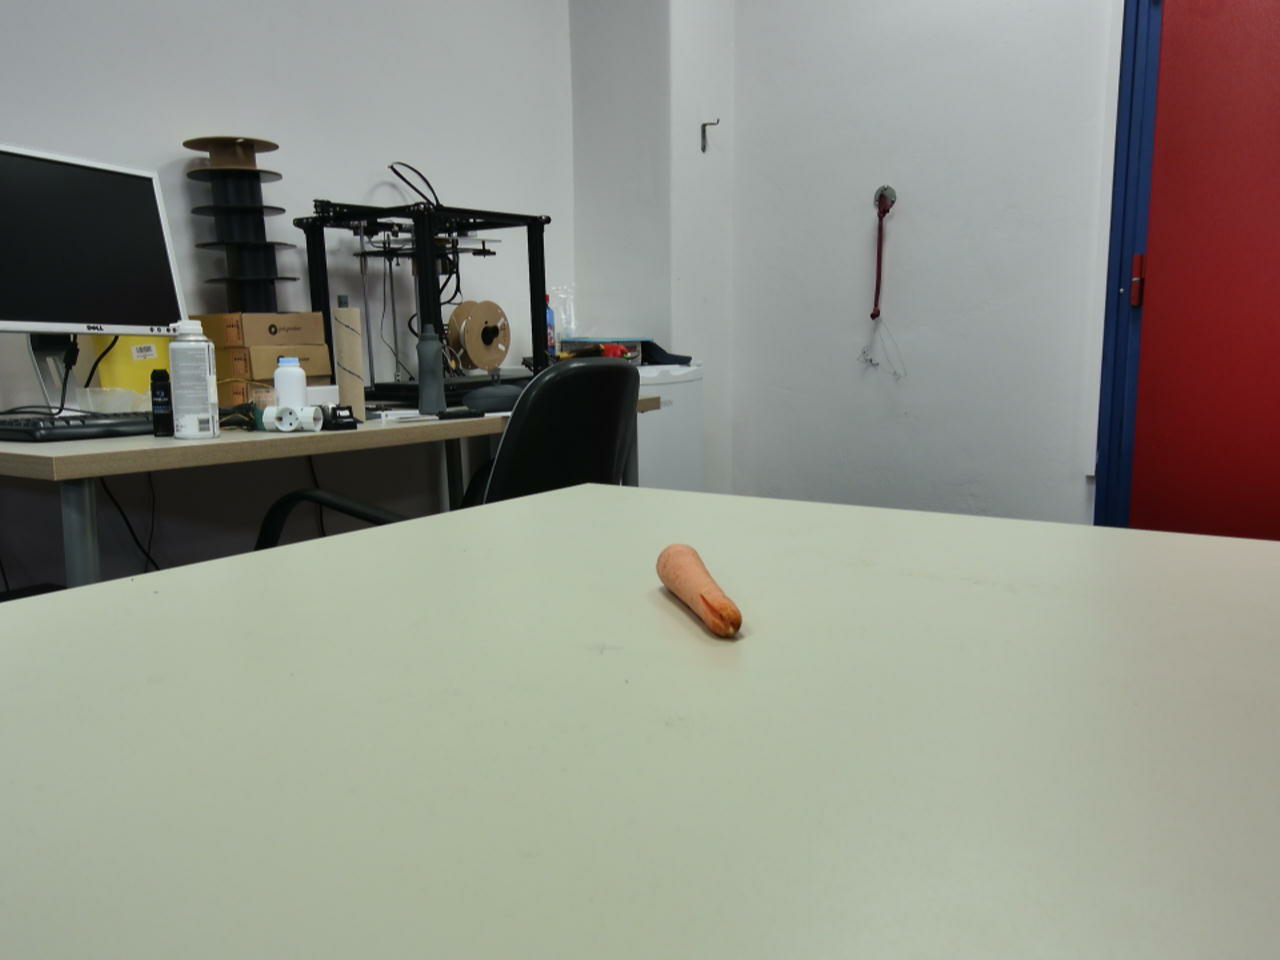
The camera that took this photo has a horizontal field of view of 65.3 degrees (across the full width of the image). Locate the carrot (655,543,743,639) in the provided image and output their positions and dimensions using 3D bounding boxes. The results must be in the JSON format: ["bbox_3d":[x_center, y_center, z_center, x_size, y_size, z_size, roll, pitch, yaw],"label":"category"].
[{"bbox_3d":[0.033,0.061,0.583,0.030,0.032,0.136,-1,6,-10],"label":"carrot"}]
